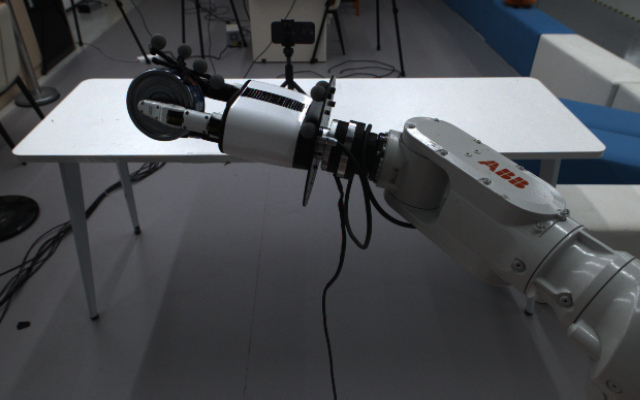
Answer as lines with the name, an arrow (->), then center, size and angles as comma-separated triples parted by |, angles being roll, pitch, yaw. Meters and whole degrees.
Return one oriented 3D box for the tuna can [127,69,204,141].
tuna can -> -0.184, -0.114, 0.579 | 0.085, 0.085, 0.034 | 6, 19, 6
